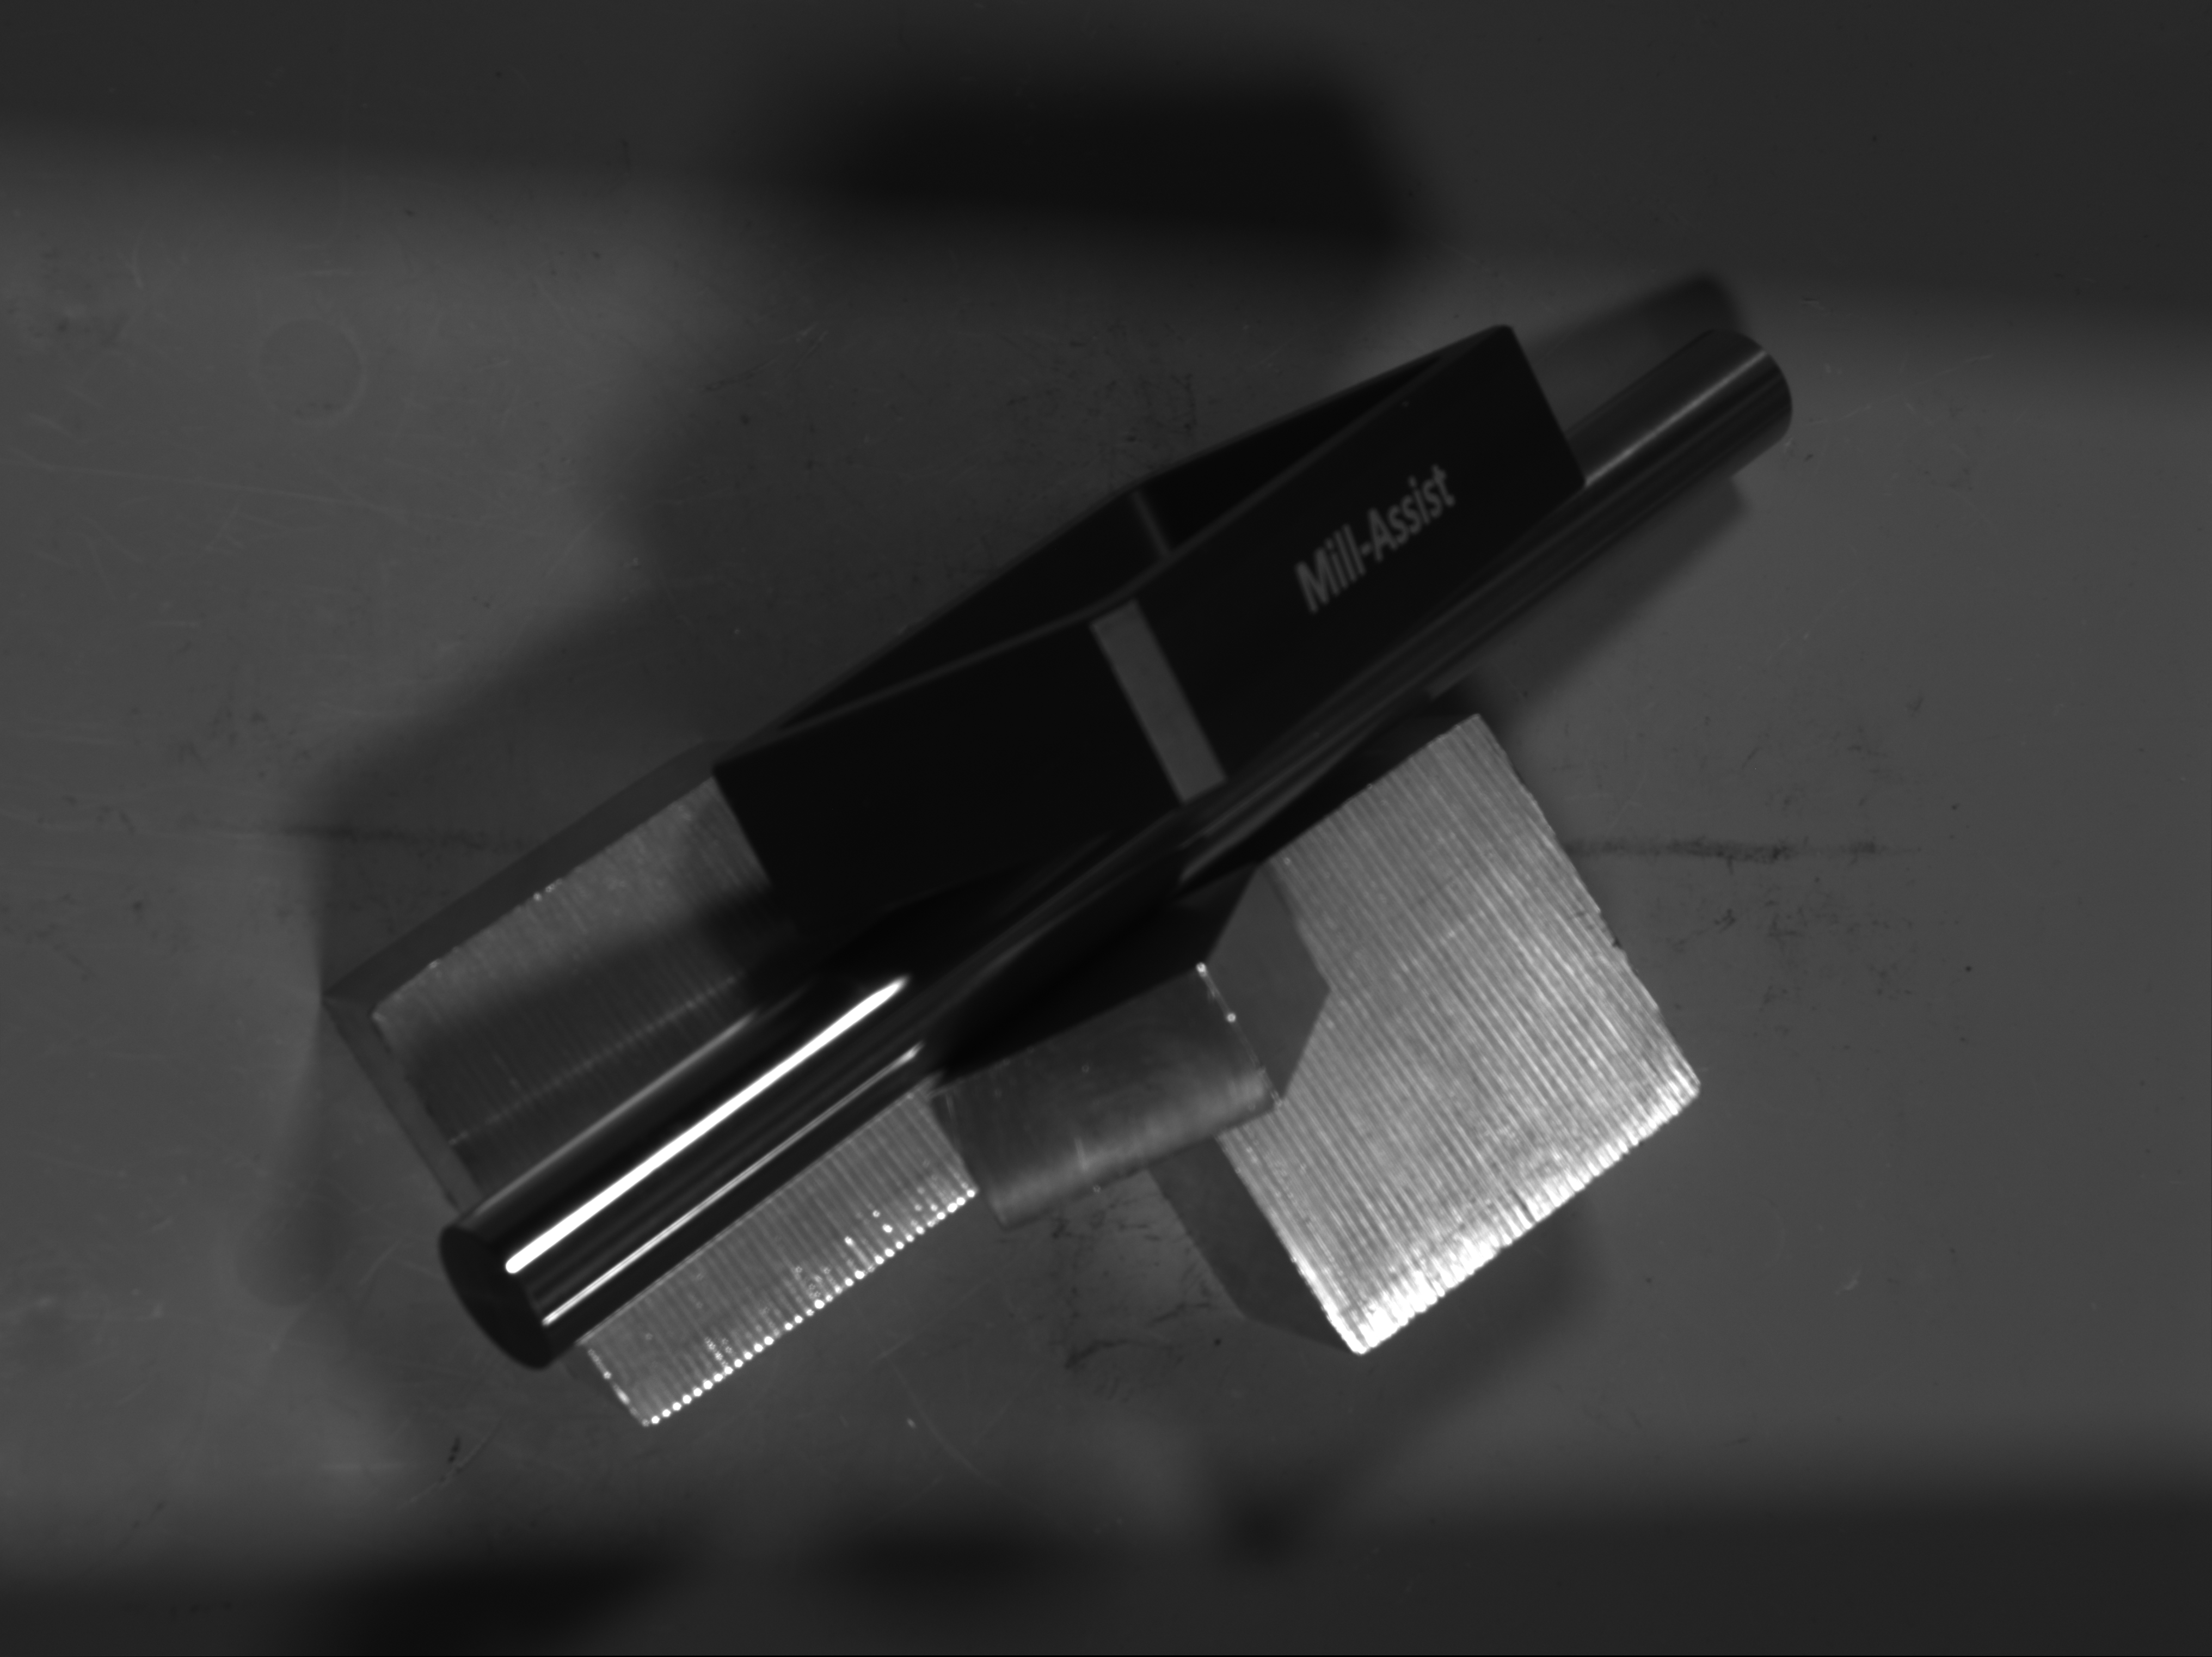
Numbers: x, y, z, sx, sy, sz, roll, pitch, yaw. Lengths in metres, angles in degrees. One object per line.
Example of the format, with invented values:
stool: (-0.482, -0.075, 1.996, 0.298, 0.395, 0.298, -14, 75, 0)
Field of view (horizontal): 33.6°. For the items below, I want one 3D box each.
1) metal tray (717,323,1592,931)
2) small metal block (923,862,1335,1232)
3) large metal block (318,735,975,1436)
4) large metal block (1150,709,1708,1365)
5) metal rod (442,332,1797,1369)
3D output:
metal tray: (0.010, -0.034, 0.583, 0.130, 0.090, 0.030, -39, 106, -49)
small metal block: (0.005, 0.034, 0.579, 0.050, 0.050, 0.025, -26, 100, 19)
large metal block: (-0.070, 0.040, 0.601, 0.080, 0.050, 0.080, -35, 101, -17)
large metal block: (0.045, 0.035, 0.645, 0.080, 0.050, 0.080, -35, 101, -17)
metal rod: (0.016, -0.007, 0.609, 0.301, 0.025, 0.025, -36, 102, -32)
